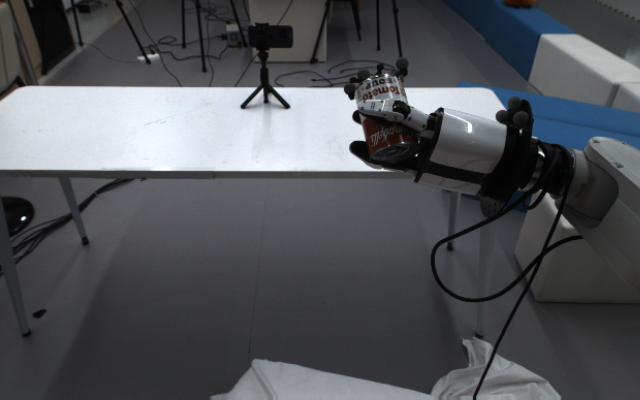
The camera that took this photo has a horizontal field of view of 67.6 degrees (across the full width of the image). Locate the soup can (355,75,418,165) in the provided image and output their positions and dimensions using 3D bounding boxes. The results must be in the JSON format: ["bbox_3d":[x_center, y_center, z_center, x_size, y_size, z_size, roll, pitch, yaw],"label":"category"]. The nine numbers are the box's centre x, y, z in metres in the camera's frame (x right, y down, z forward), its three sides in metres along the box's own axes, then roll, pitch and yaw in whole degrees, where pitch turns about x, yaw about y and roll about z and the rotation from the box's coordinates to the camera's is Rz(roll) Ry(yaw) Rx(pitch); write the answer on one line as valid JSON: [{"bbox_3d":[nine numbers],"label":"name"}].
[{"bbox_3d":[0.089,-0.108,0.643,0.067,0.067,0.101,-8,74,-14],"label":"soup can"}]
